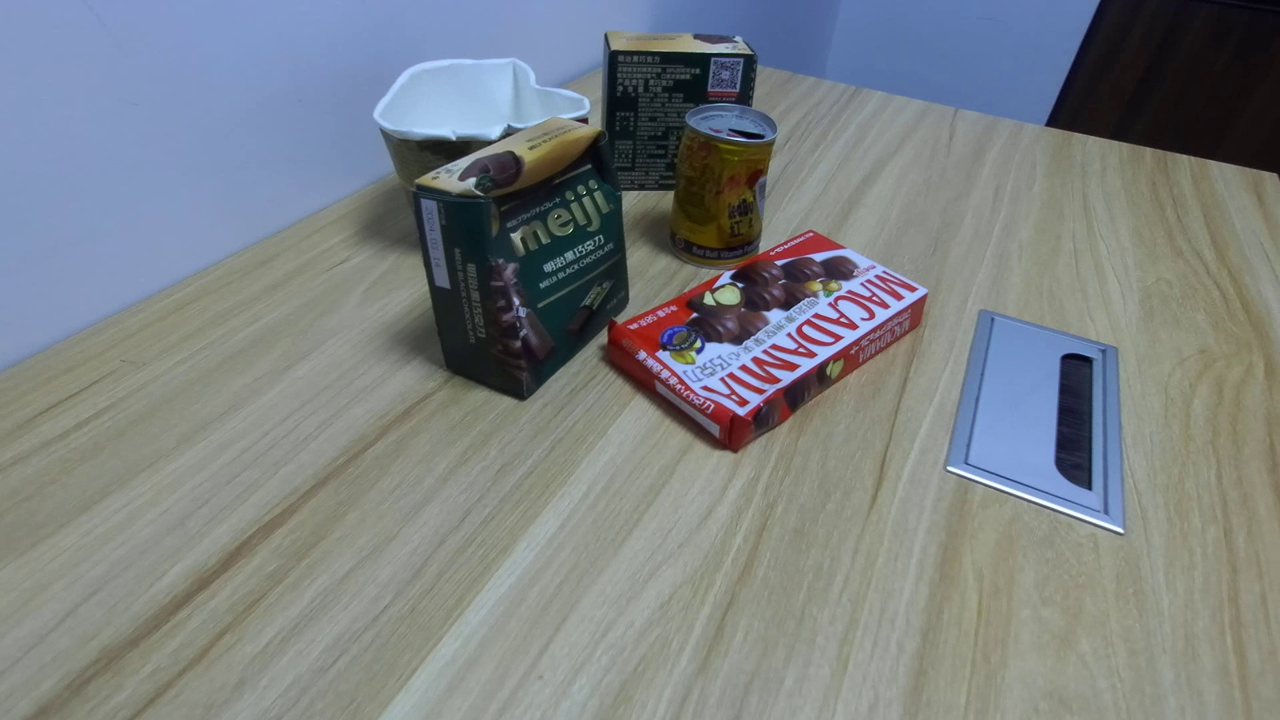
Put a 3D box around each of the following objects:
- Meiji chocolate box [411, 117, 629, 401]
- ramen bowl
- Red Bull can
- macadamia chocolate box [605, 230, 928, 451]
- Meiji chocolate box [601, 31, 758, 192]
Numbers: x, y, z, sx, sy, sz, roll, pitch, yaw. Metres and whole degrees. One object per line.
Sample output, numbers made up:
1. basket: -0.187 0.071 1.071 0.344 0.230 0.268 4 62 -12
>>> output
1. Meiji chocolate box: -0.057 -0.060 0.384 0.051 0.117 0.117 16 39 27
2. ramen bowl: -0.107 -0.134 0.474 0.134 0.097 0.113 -25 48 -32
3. Red Bull can: 0.055 -0.115 0.472 0.072 0.092 0.072 3 39 -2
4. macadamia chocolate box: 0.079 -0.021 0.415 0.183 0.028 0.105 -28 50 -33
5. Meiji chocolate box: 0.027 -0.192 0.553 0.113 0.111 0.058 -1 35 -6
